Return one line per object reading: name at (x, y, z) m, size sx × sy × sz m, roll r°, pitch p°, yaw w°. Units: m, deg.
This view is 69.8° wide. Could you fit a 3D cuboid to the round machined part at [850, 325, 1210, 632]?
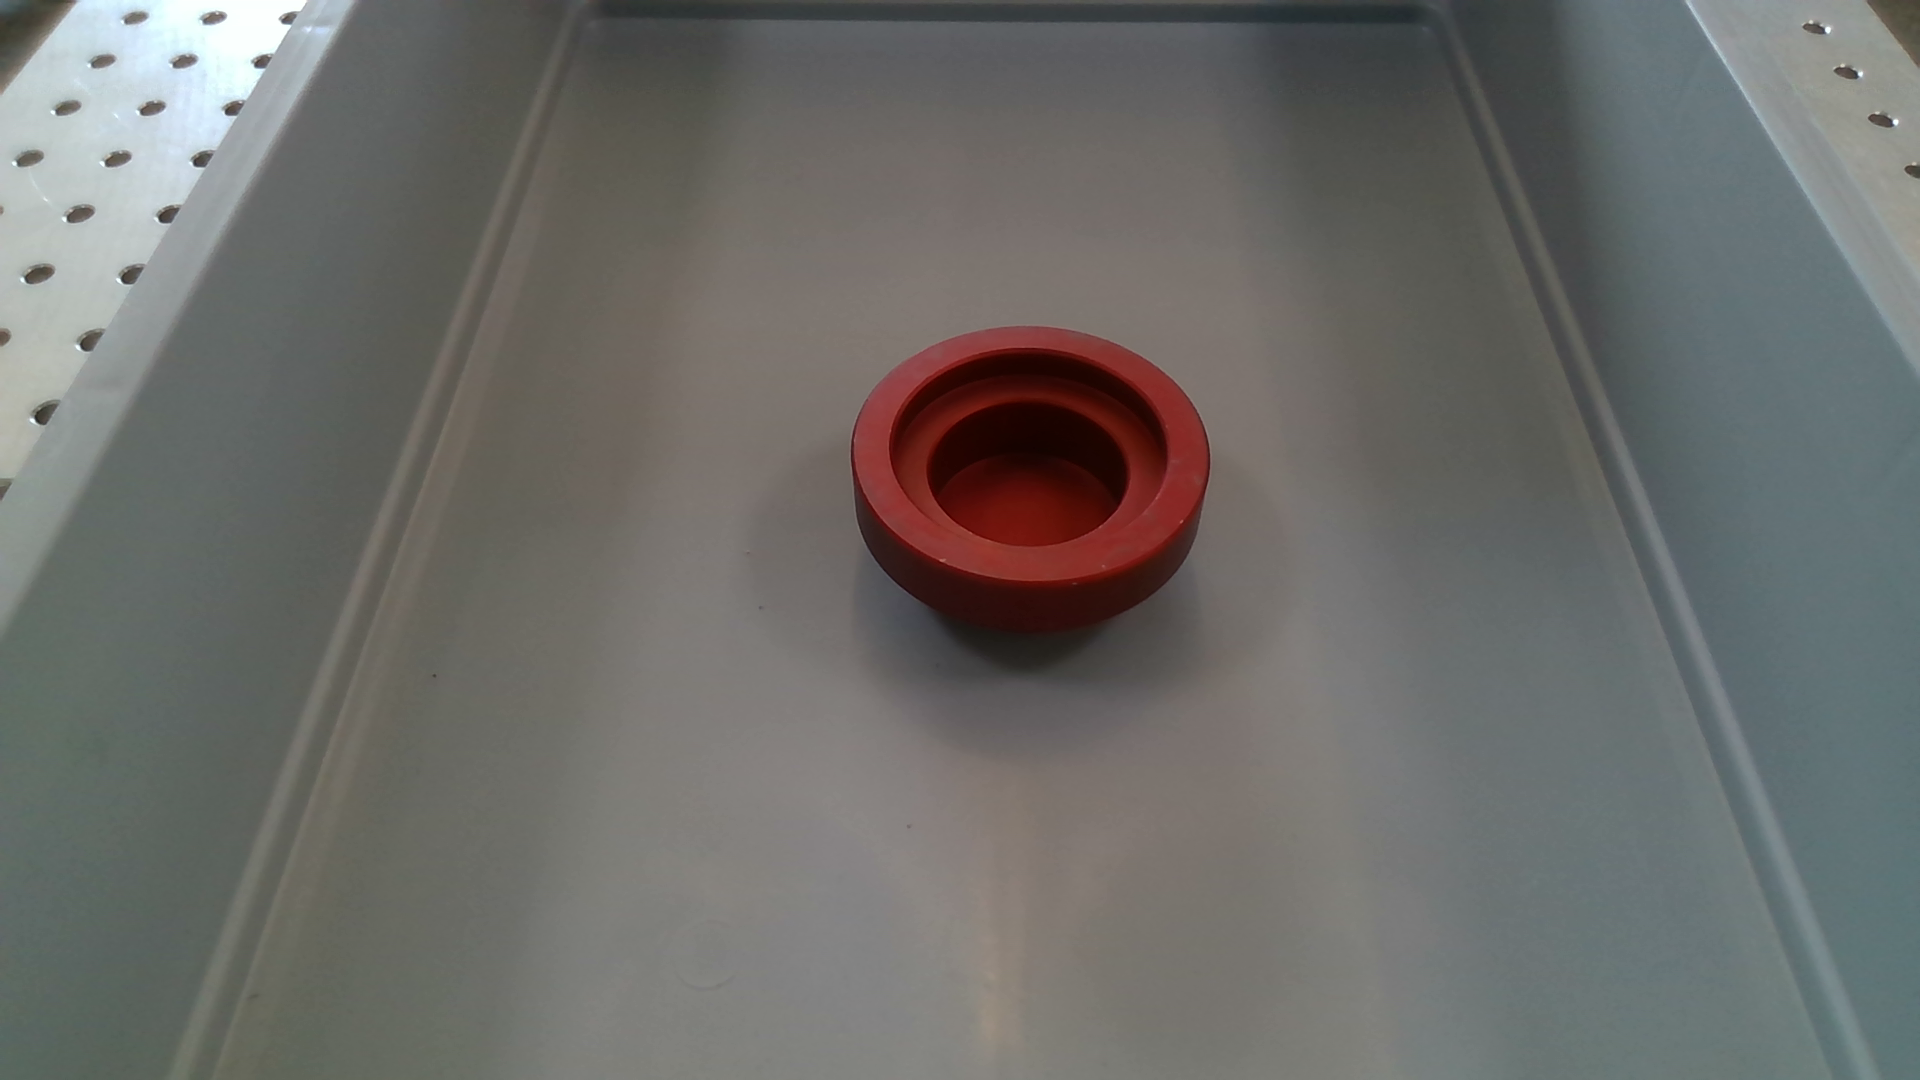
round machined part at (0.019, -0.013, 0.390) m, size 0.098 × 0.042 × 0.098 m, roll 0°, pitch 50°, yaw 0°
